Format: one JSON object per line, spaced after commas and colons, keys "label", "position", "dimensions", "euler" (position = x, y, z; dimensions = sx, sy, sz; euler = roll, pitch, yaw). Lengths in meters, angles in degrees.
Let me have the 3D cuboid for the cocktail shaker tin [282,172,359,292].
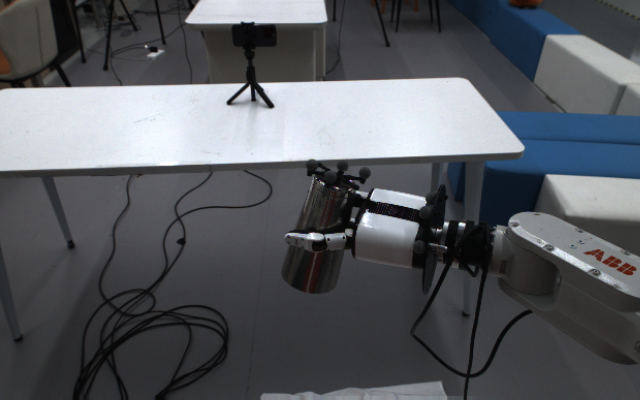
{"label": "cocktail shaker tin", "position": [0.004, 0.045, 0.739], "dimensions": [0.093, 0.170, 0.093], "euler": [12, 24, -5]}
